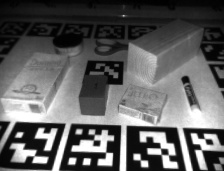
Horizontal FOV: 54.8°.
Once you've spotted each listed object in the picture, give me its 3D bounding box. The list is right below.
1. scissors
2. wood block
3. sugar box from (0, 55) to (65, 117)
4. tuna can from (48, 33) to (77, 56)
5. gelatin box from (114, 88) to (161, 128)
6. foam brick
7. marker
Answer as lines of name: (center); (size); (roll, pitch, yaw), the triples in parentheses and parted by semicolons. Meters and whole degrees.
scissors: (0.026, -0.115, 0.657); (0.202, 0.016, 0.087); (5, 45, 9)
wood block: (0.138, -0.092, 0.585); (0.208, 0.091, 0.089); (-33, 52, -30)
sugar box: (-0.184, -0.005, 0.527); (0.092, 0.045, 0.176); (6, 45, 5)
tuna can: (-0.148, -0.121, 0.647); (0.086, 0.034, 0.085); (0, 45, 1)
gelatin box: (0.058, 0.047, 0.482); (0.088, 0.030, 0.073); (15, 47, 15)
foam brick: (-0.046, 0.028, 0.481); (0.052, 0.051, 0.078); (2, 45, 4)
marker: (0.169, 0.024, 0.510); (0.019, 0.020, 0.120); (3, 47, 4)
